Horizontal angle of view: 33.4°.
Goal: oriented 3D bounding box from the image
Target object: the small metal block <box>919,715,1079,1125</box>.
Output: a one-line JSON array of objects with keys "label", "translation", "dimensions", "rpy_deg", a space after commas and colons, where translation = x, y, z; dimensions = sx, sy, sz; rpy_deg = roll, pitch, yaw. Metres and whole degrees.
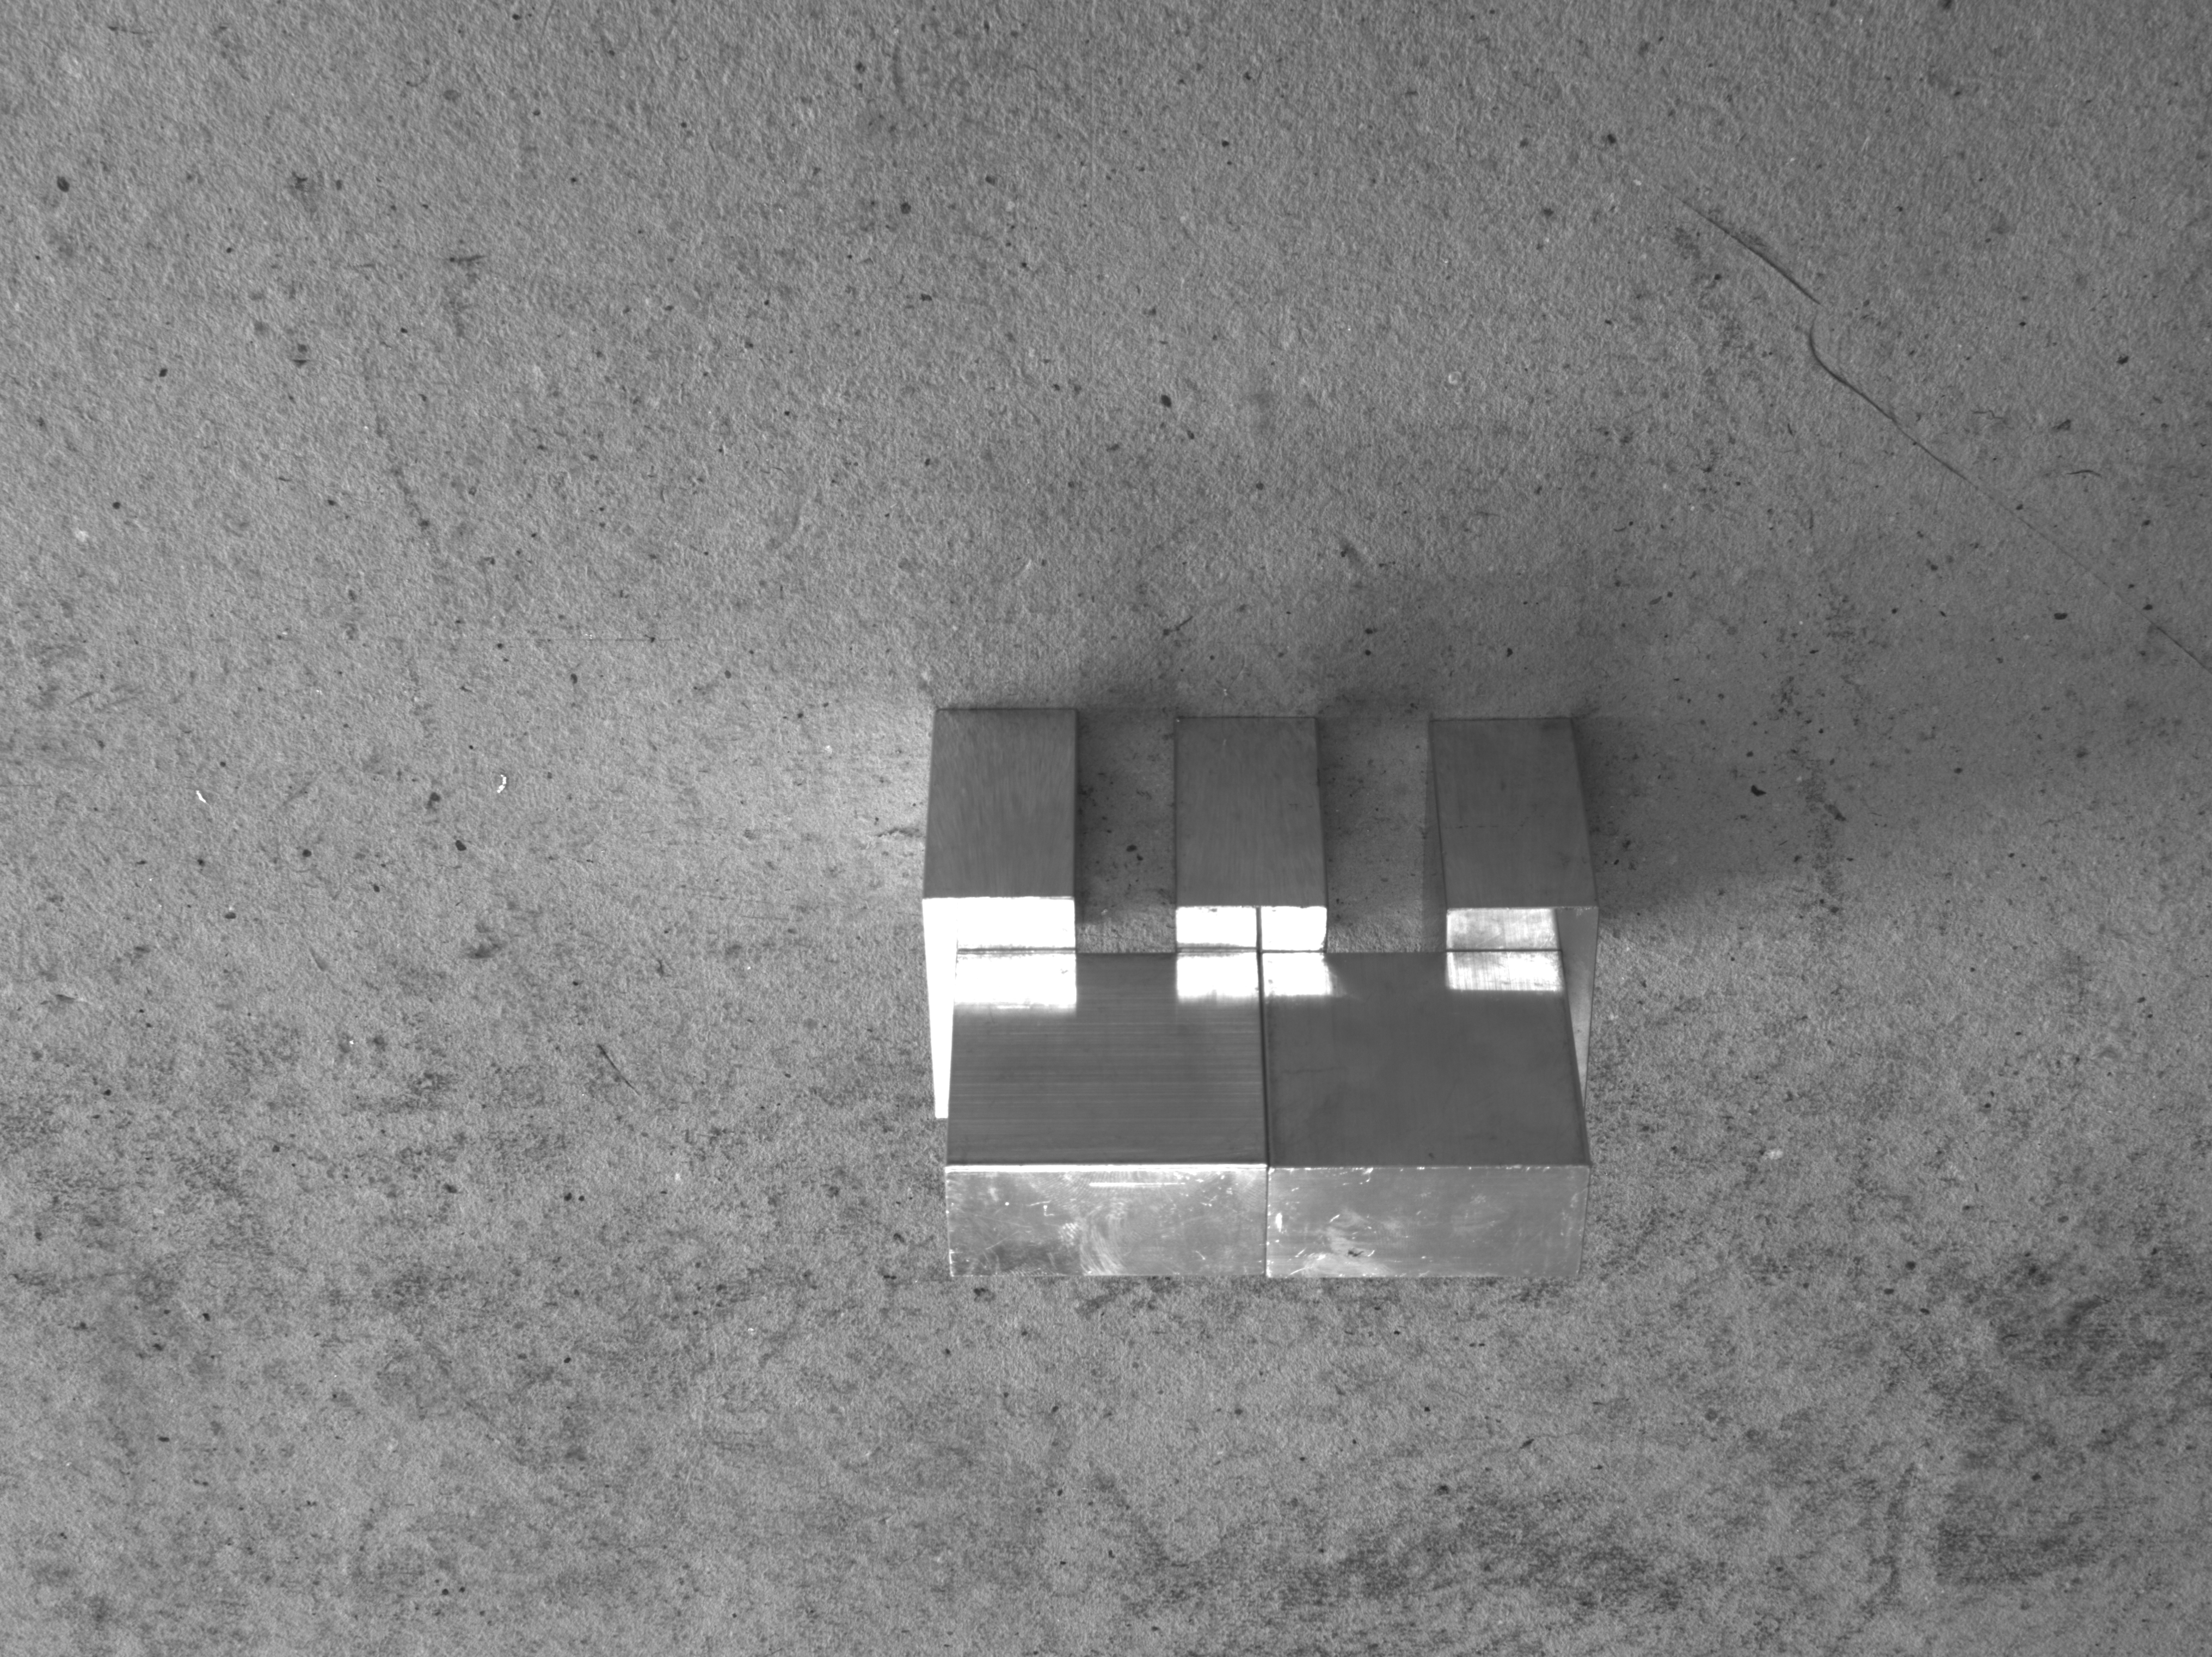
[{"label": "small metal block", "translation": [-0.017, 0.016, 0.635], "dimensions": [0.025, 0.050, 0.050], "rpy_deg": [0, 130, 1]}]

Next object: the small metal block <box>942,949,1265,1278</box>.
[{"label": "small metal block", "translation": [0.000, 0.046, 0.597], "dimensions": [0.050, 0.050, 0.025], "rpy_deg": [0, 130, 0]}]

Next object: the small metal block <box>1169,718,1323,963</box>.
[{"label": "small metal block", "translation": [0.024, 0.016, 0.637], "dimensions": [0.025, 0.050, 0.050], "rpy_deg": [-1, 130, 2]}]

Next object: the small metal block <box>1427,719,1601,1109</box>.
[{"label": "small metal block", "translation": [0.069, 0.016, 0.637], "dimensions": [0.025, 0.050, 0.050], "rpy_deg": [-1, 130, 2]}]

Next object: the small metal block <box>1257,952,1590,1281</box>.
[{"label": "small metal block", "translation": [0.050, 0.046, 0.597], "dimensions": [0.050, 0.050, 0.025], "rpy_deg": [0, 130, 0]}]
